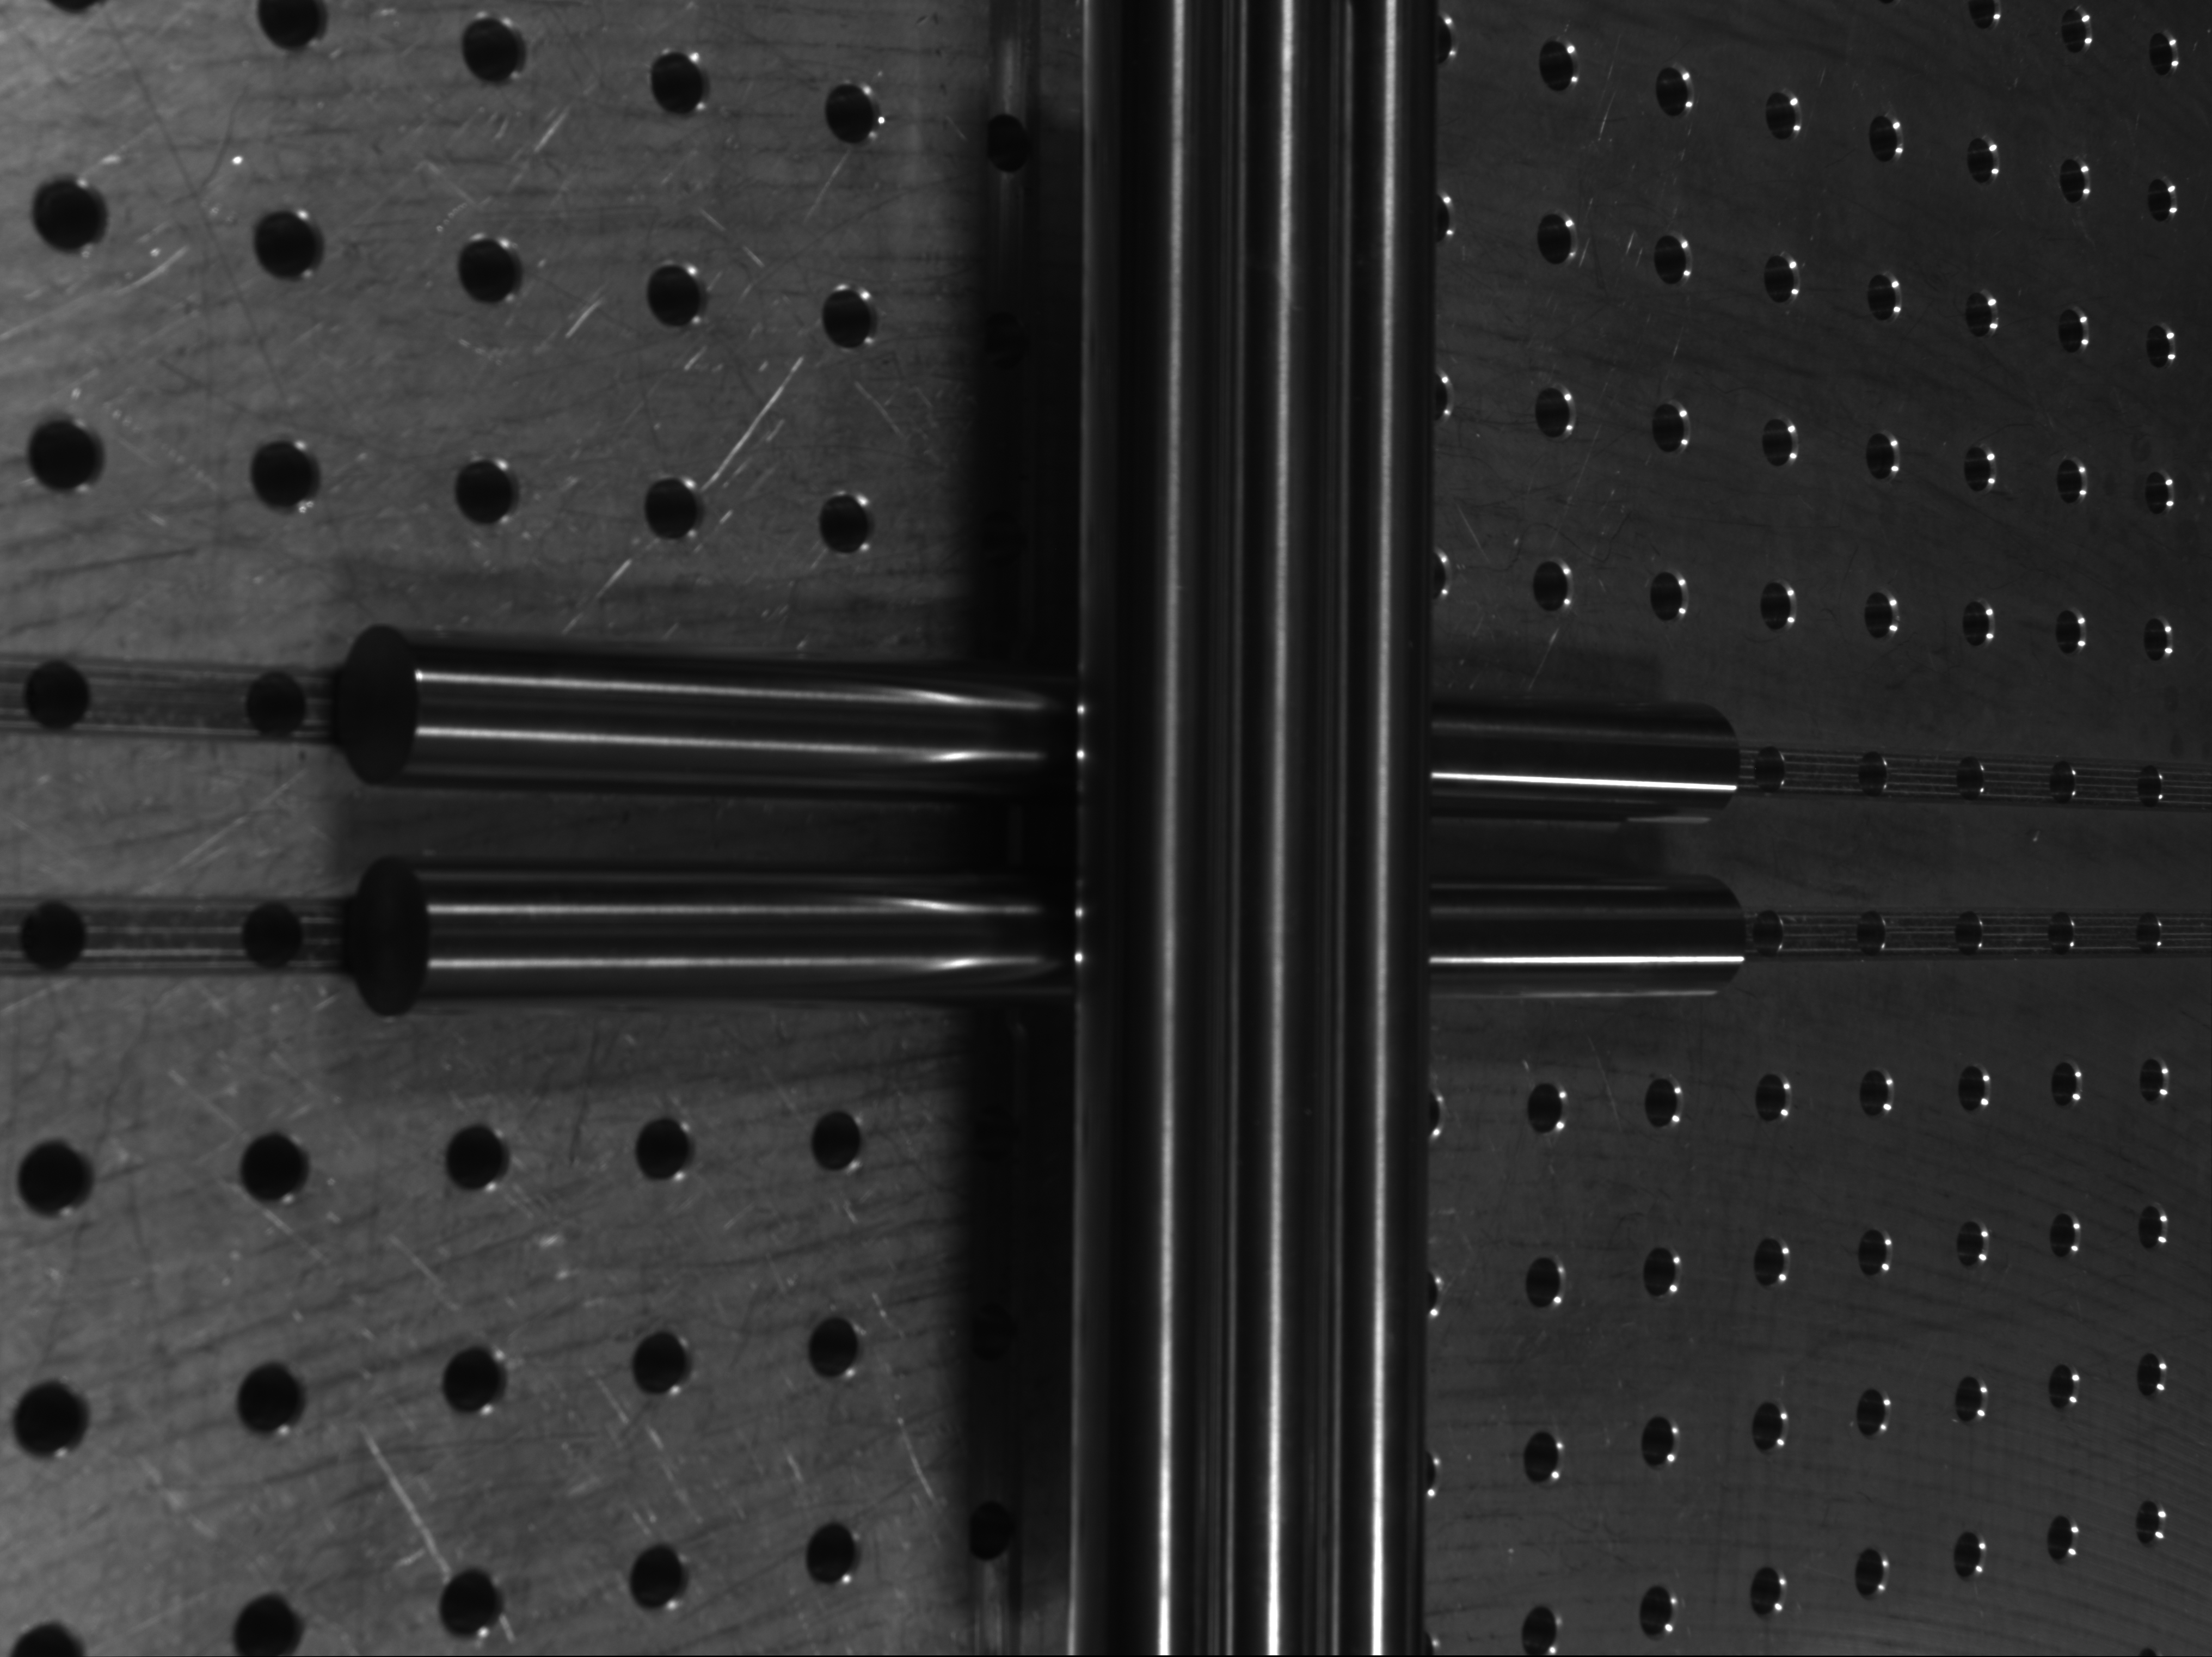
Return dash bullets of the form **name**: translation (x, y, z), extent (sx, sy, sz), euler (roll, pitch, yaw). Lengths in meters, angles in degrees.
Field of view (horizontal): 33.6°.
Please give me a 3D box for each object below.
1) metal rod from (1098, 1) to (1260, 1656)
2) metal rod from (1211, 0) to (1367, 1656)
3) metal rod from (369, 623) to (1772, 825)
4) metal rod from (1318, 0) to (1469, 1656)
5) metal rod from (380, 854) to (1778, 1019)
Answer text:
- **metal rod**: translation (0.012, 0.003, 0.618), extent (0.025, 0.025, 0.300), euler (1, 89, -40)
- **metal rod**: translation (0.031, 0.003, 0.635), extent (0.025, 0.025, 0.300), euler (1, 89, -40)
- **metal rod**: translation (0.010, -0.016, 0.649), extent (0.301, 0.025, 0.025), euler (1, 89, -40)
- **metal rod**: translation (0.051, 0.001, 0.651), extent (0.025, 0.025, 0.300), euler (1, 89, -40)
- **metal rod**: translation (0.012, 0.019, 0.650), extent (0.301, 0.025, 0.025), euler (1, 89, -40)
